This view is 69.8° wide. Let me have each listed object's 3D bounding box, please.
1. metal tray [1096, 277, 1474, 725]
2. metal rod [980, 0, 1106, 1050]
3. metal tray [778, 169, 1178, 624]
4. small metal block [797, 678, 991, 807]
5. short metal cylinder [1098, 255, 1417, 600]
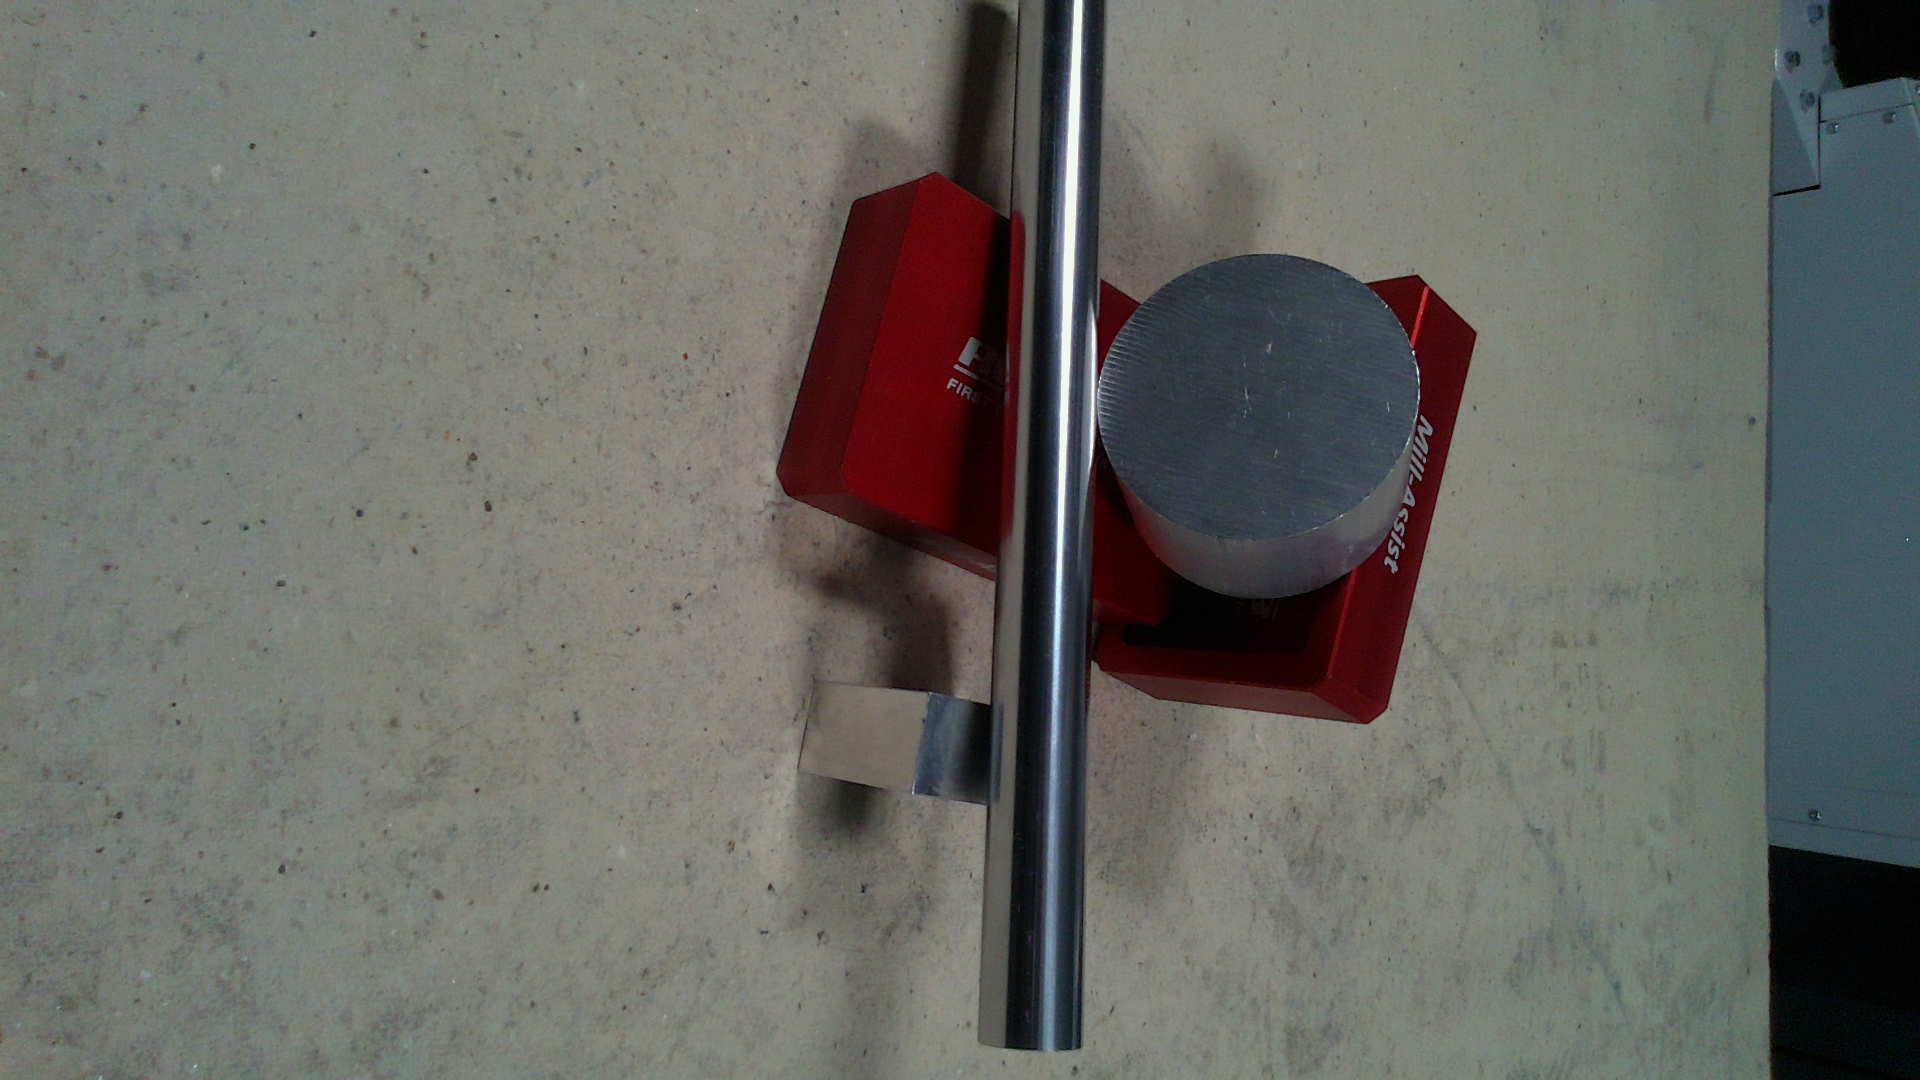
[{"bbox_3d":[0.100,-0.013,0.430,0.030,0.090,0.130,29,72,-36],"label":"metal tray"},{"bbox_3d":[0.023,-0.028,0.358,0.025,0.025,0.300,14,72,-39],"label":"metal rod"},{"bbox_3d":[0.018,-0.036,0.400,0.130,0.030,0.090,23,75,-37],"label":"metal tray"},{"bbox_3d":[-0.007,0.055,0.367,0.050,0.050,0.025,16,80,-39],"label":"small metal block"},{"bbox_3d":[0.081,-0.029,0.373,0.050,0.080,0.080,53,53,-66],"label":"short metal cylinder"}]
